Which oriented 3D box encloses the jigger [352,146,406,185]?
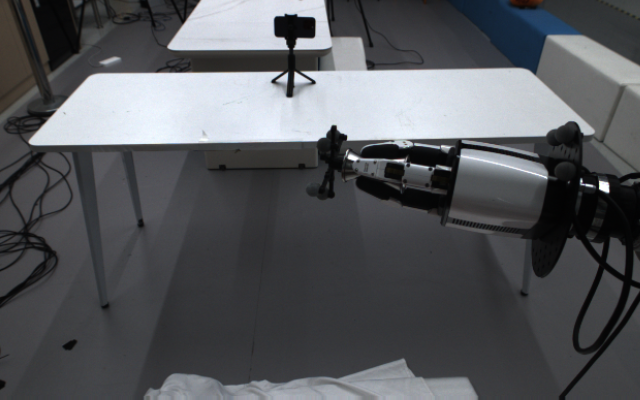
[{"bbox_3d":[0.068,-0.037,0.539,0.071,0.043,0.043,10,35,16],"label":"jigger"}]
